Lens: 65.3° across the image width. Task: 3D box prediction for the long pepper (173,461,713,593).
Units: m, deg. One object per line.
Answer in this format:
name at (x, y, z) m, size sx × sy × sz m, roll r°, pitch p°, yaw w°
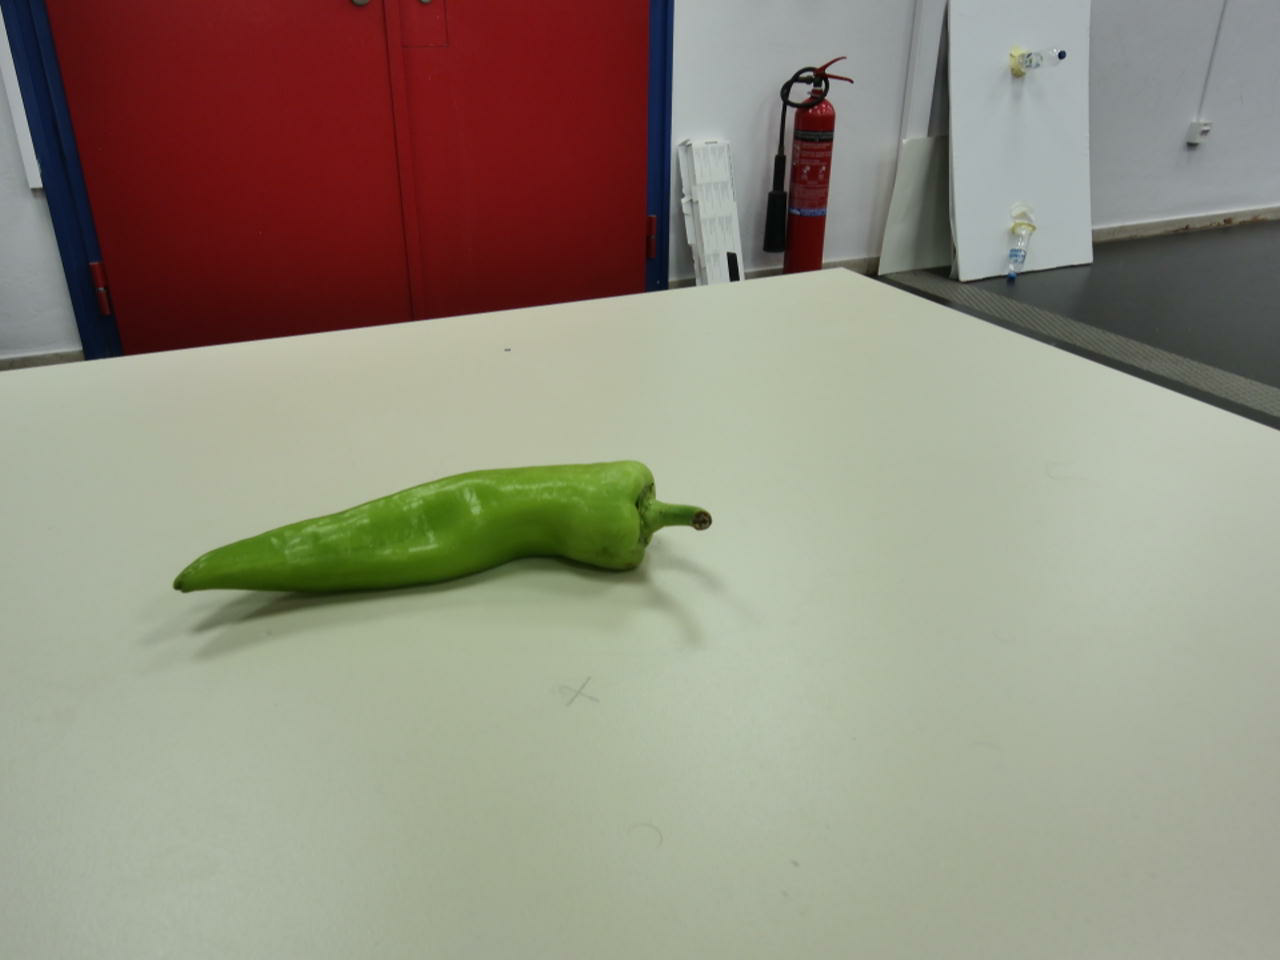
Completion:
long pepper at (-0.076, 0.020, 0.411) m, size 0.204 × 0.045 × 0.065 m, roll -4°, pitch 24°, yaw -9°
